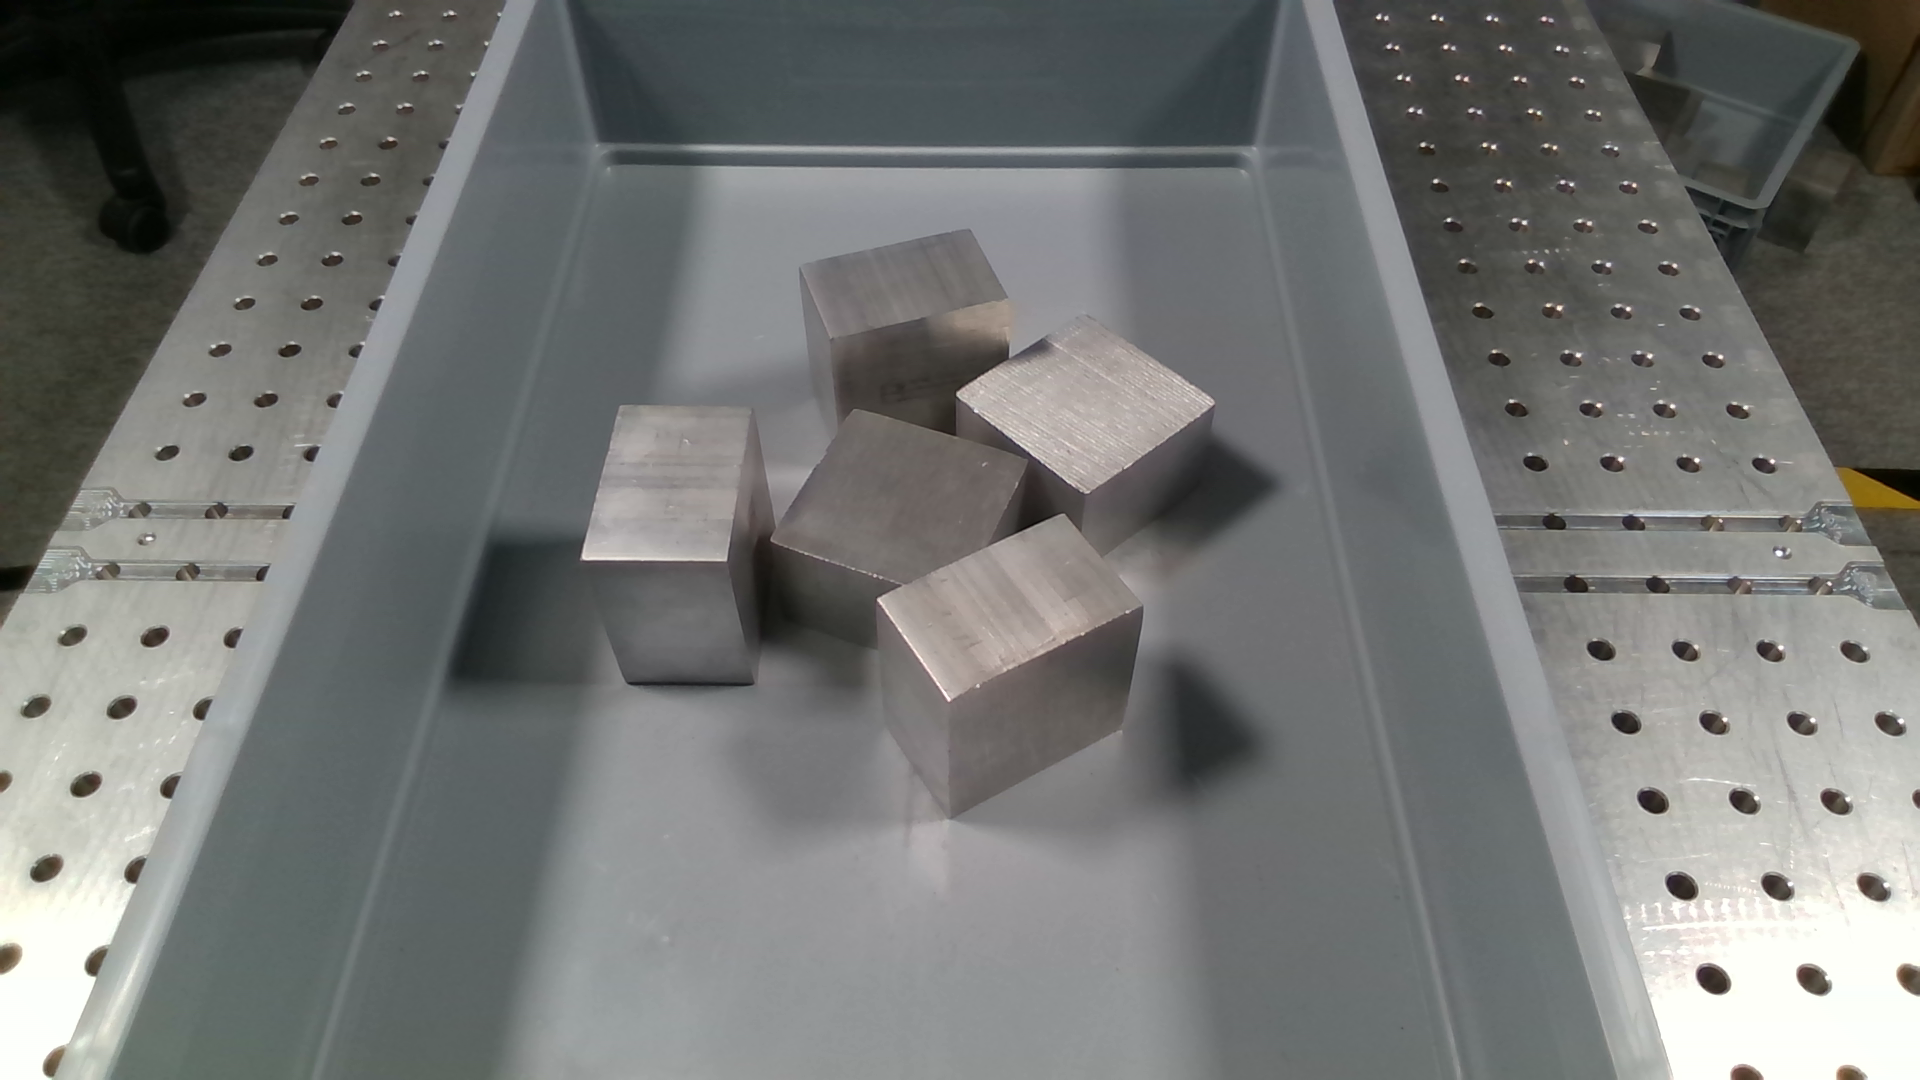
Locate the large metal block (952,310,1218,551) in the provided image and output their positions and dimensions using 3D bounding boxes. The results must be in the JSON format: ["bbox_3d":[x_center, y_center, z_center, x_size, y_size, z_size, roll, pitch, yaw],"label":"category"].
[{"bbox_3d":[0.053,-0.045,0.607,0.080,0.050,0.080,-35,58,-26],"label":"large metal block"}]

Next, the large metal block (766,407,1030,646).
[{"bbox_3d":[-0.023,0.000,0.570,0.080,0.050,0.080,17,52,14],"label":"large metal block"}]

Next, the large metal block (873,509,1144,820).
[{"bbox_3d":[0.017,0.047,0.510,0.080,0.080,0.050,-25,54,-19],"label":"large metal block"}]

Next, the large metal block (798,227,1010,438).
[{"bbox_3d":[-0.024,-0.086,0.622,0.080,0.080,0.050,-15,52,-12],"label":"large metal block"}]

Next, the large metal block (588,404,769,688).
[{"bbox_3d":[-0.108,0.003,0.548,0.050,0.080,0.080,0,50,0],"label":"large metal block"}]
